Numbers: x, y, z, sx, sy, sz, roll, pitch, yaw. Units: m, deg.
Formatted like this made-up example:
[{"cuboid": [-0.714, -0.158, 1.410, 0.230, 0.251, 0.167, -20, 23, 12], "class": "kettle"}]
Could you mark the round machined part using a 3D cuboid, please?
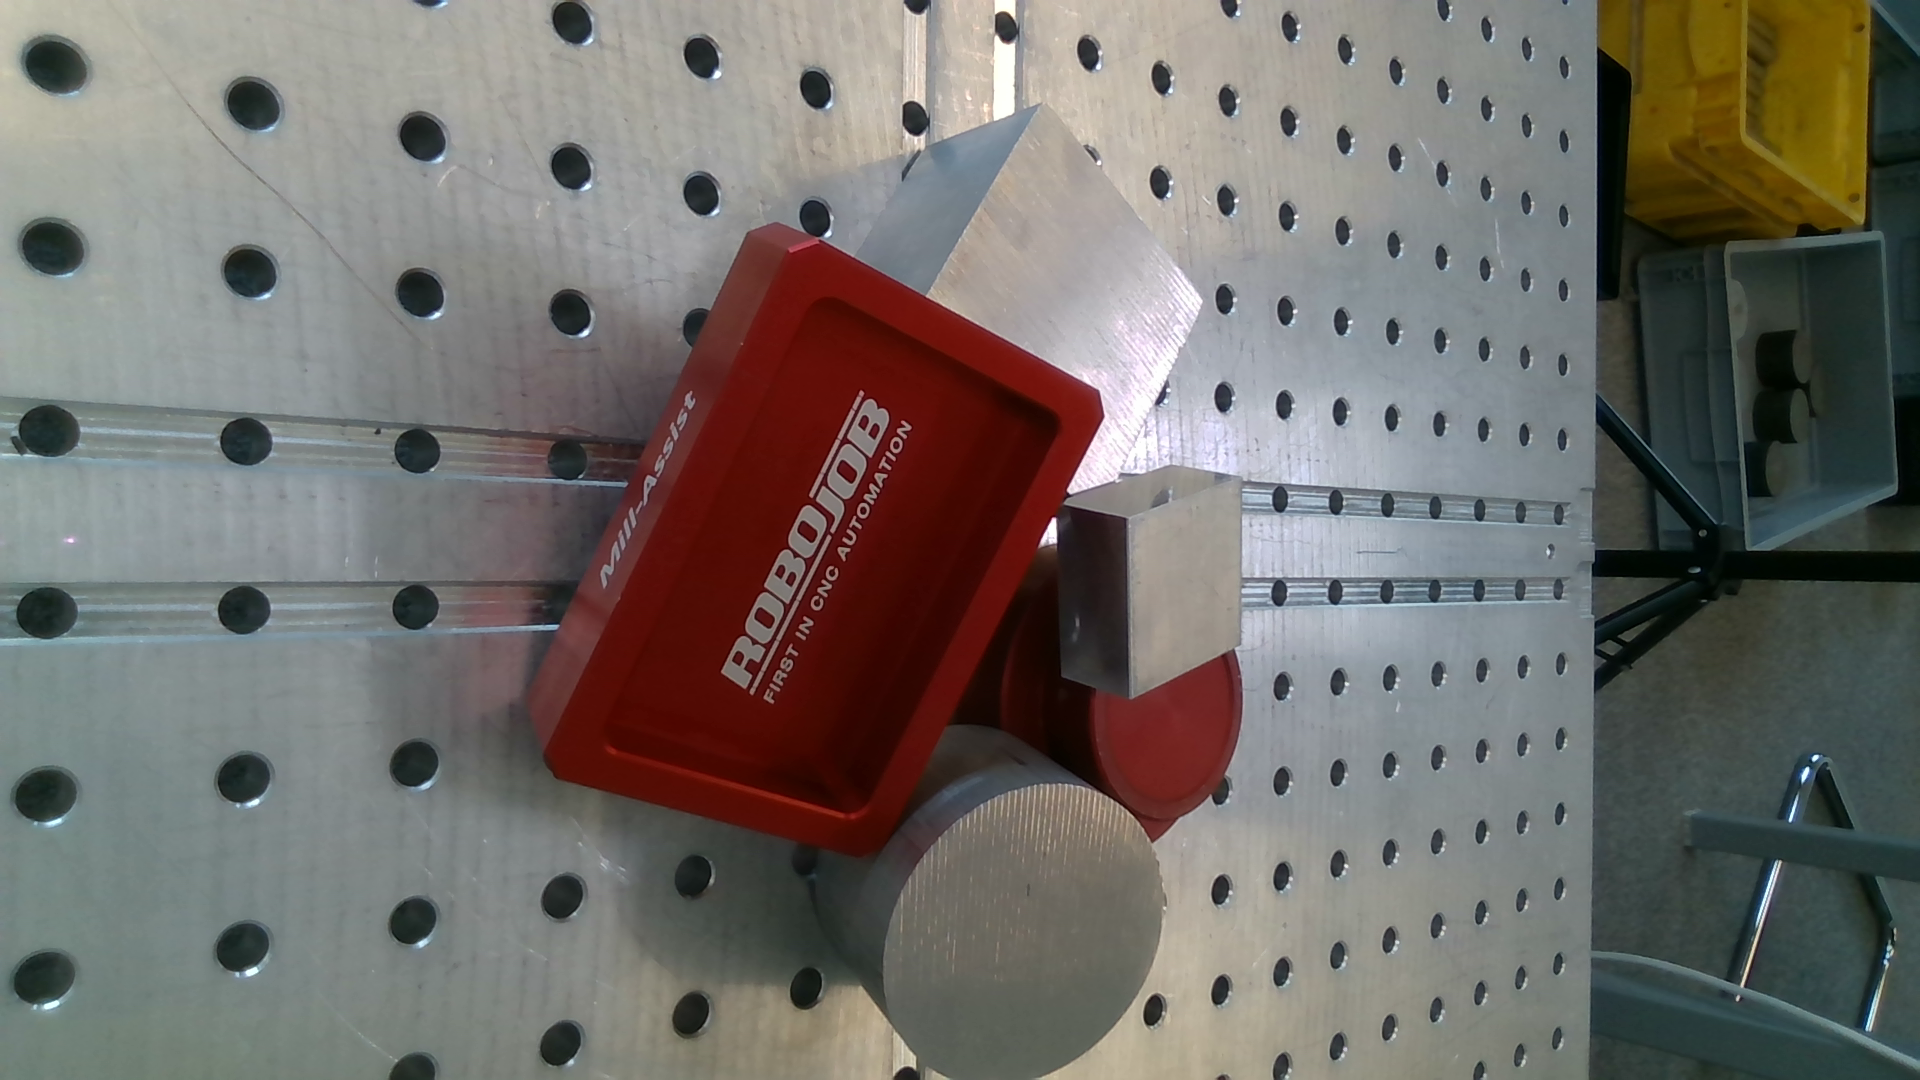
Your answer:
[{"cuboid": [0.049, 0.050, 0.425, 0.098, 0.042, 0.098, 0, 90, -40], "class": "round machined part"}]

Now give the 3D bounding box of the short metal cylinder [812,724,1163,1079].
[{"cuboid": [0.007, 0.095, 0.369, 0.080, 0.050, 0.080, -6, 103, -25], "class": "short metal cylinder"}]

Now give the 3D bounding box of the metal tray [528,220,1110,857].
[{"cuboid": [-0.032, 0.003, 0.326, 0.090, 0.030, 0.130, 23, 97, -31], "class": "metal tray"}]

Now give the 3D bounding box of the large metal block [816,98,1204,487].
[{"cuboid": [0.013, -0.061, 0.389, 0.080, 0.050, 0.080, 43, 64, -32], "class": "large metal block"}]

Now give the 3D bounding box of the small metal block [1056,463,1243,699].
[{"cuboid": [0.053, 0.010, 0.378, 0.050, 0.025, 0.050, -19, 113, -42], "class": "small metal block"}]
